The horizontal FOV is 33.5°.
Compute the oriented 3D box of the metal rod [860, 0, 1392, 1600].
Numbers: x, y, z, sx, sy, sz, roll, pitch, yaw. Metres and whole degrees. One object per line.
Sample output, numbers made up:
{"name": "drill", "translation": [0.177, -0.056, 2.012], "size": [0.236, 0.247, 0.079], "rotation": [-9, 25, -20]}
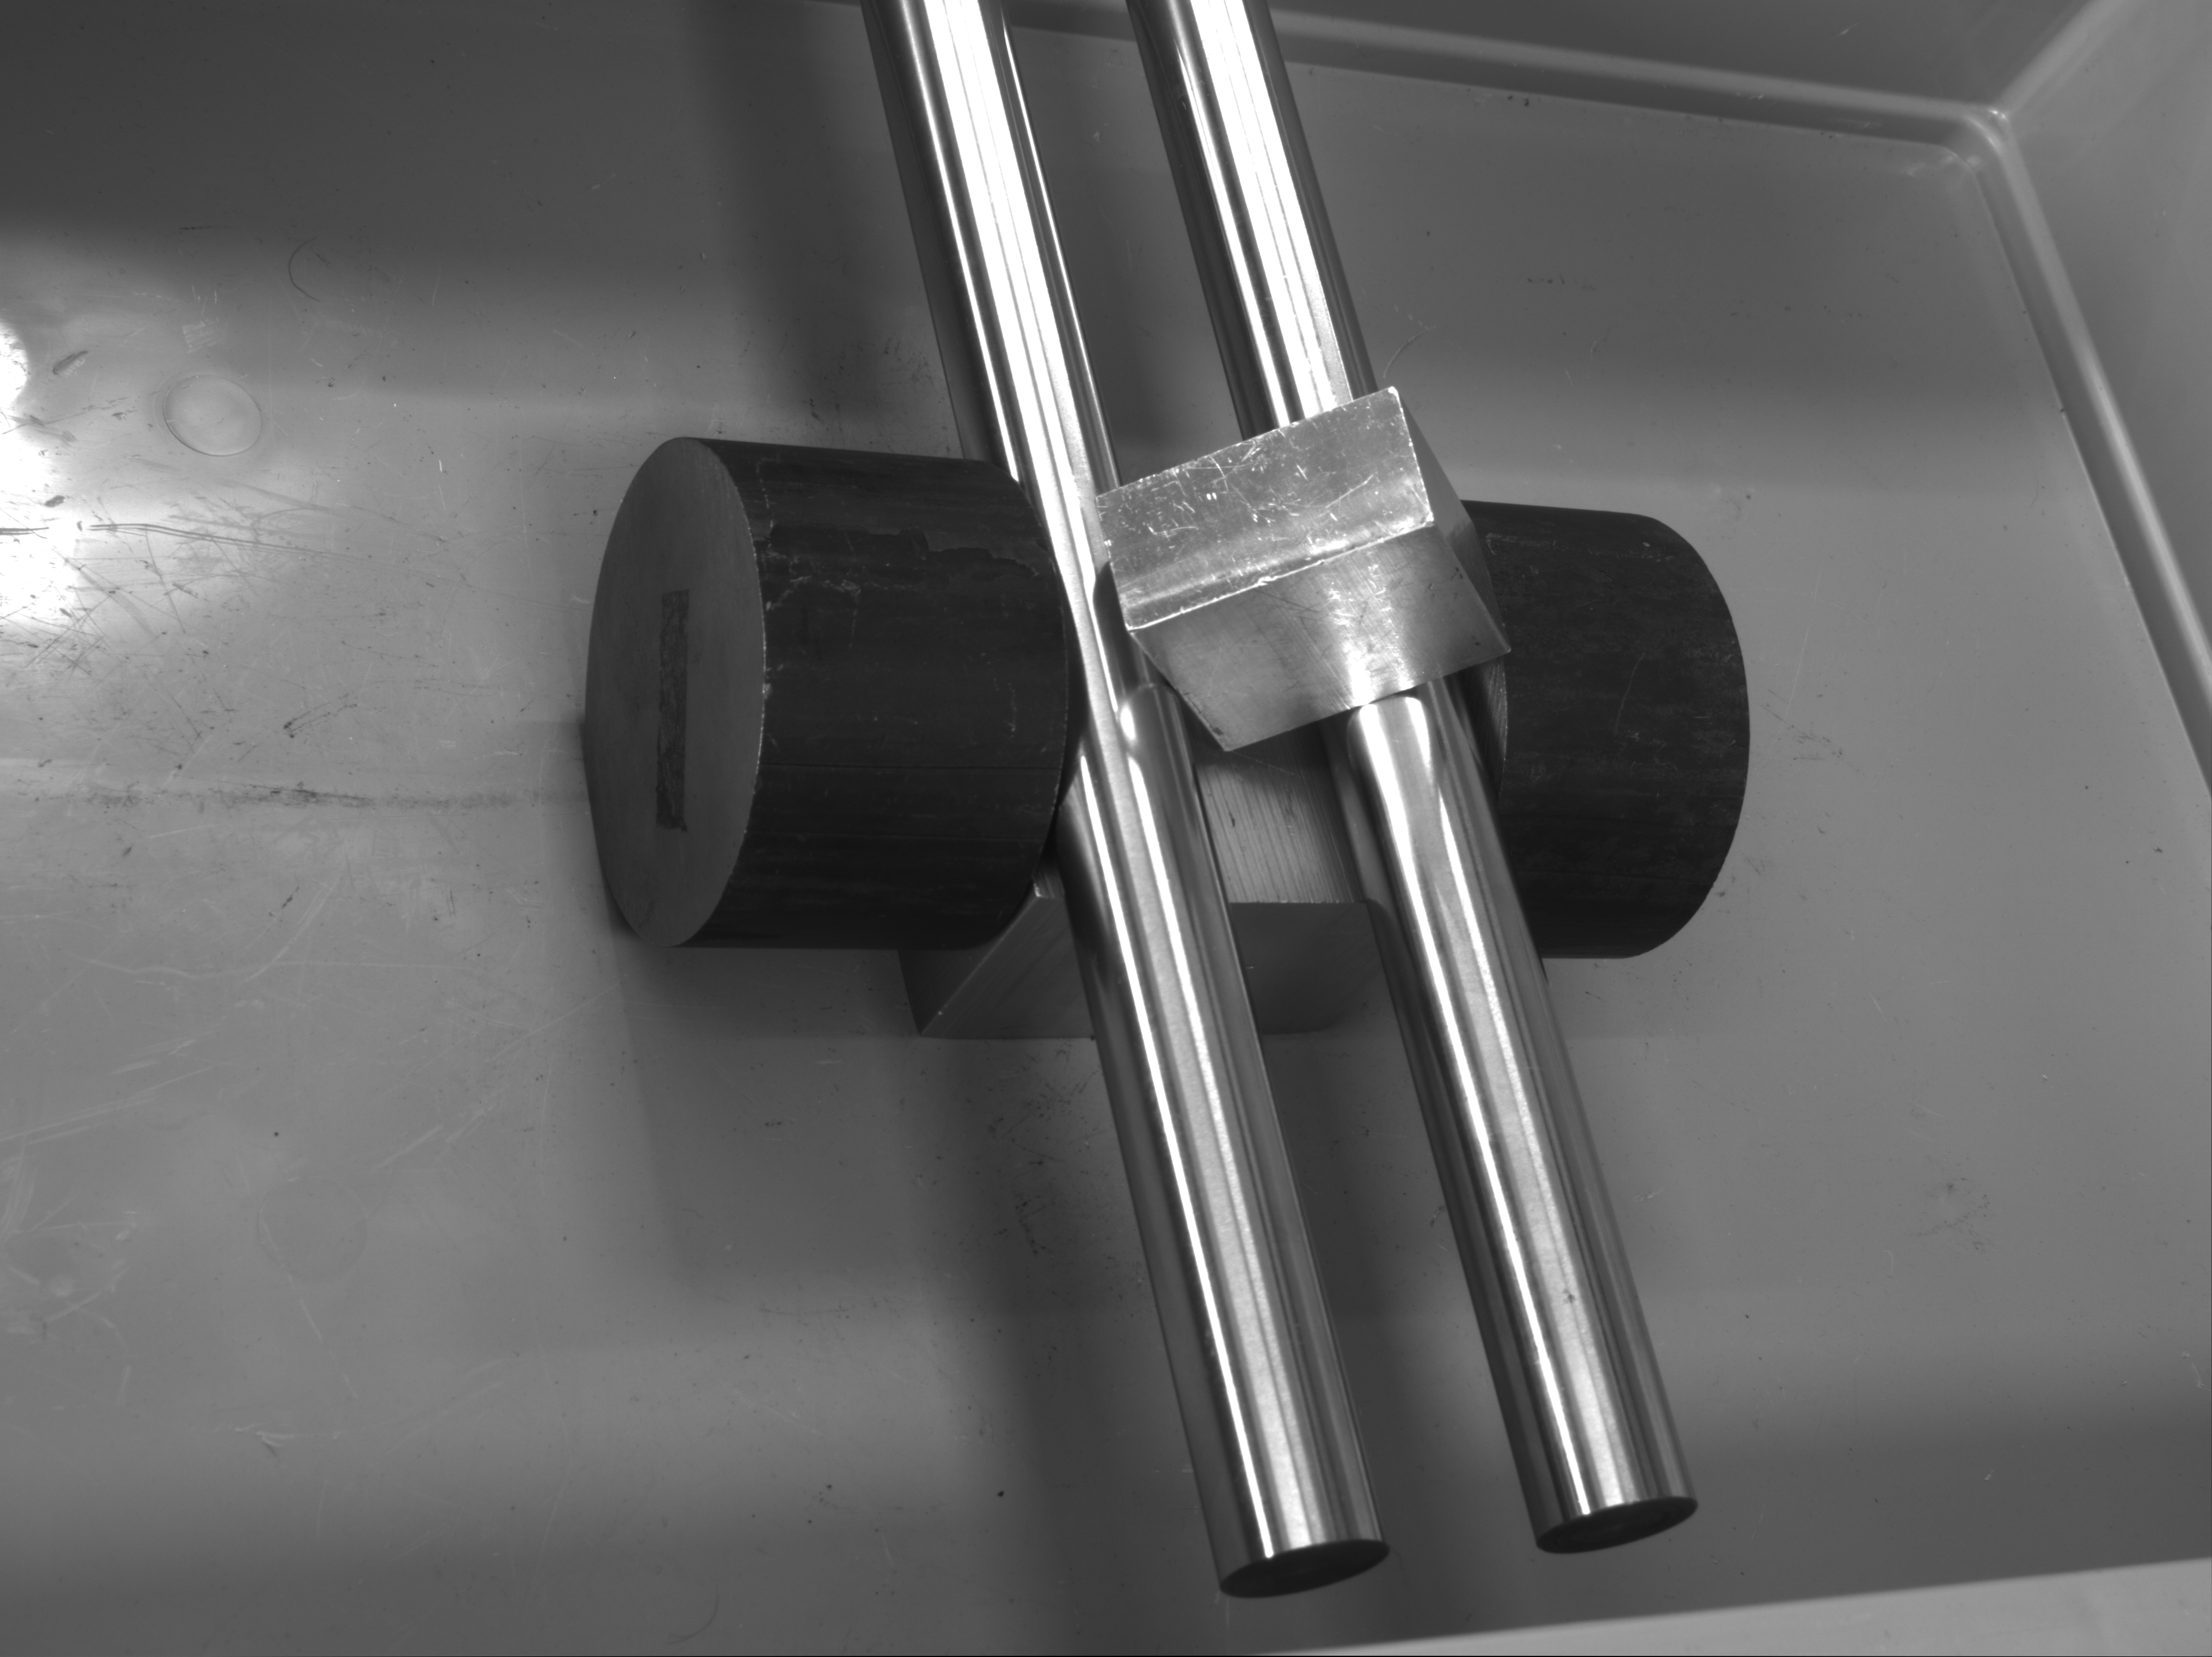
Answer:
{"name": "metal rod", "translation": [-0.002, -0.026, 0.589], "size": [0.025, 0.025, 0.300], "rotation": [1, 61, -28]}

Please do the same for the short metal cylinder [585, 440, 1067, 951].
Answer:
{"name": "short metal cylinder", "translation": [-0.047, -0.021, 0.591], "size": [0.050, 0.080, 0.080], "rotation": [2, 61, -27]}

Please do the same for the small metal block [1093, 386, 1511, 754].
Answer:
{"name": "small metal block", "translation": [0.032, -0.040, 0.583], "size": [0.050, 0.050, 0.025], "rotation": [-19, 64, 12]}

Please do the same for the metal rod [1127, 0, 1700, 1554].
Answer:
{"name": "metal rod", "translation": [0.046, -0.027, 0.615], "size": [0.025, 0.025, 0.300], "rotation": [1, 61, -28]}

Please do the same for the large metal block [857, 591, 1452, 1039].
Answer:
{"name": "large metal block", "translation": [0.006, -0.011, 0.632], "size": [0.080, 0.050, 0.080], "rotation": [1, 61, -28]}

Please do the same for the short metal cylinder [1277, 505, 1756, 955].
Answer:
{"name": "short metal cylinder", "translation": [0.071, -0.017, 0.650], "size": [0.050, 0.080, 0.080], "rotation": [0, 61, -27]}
